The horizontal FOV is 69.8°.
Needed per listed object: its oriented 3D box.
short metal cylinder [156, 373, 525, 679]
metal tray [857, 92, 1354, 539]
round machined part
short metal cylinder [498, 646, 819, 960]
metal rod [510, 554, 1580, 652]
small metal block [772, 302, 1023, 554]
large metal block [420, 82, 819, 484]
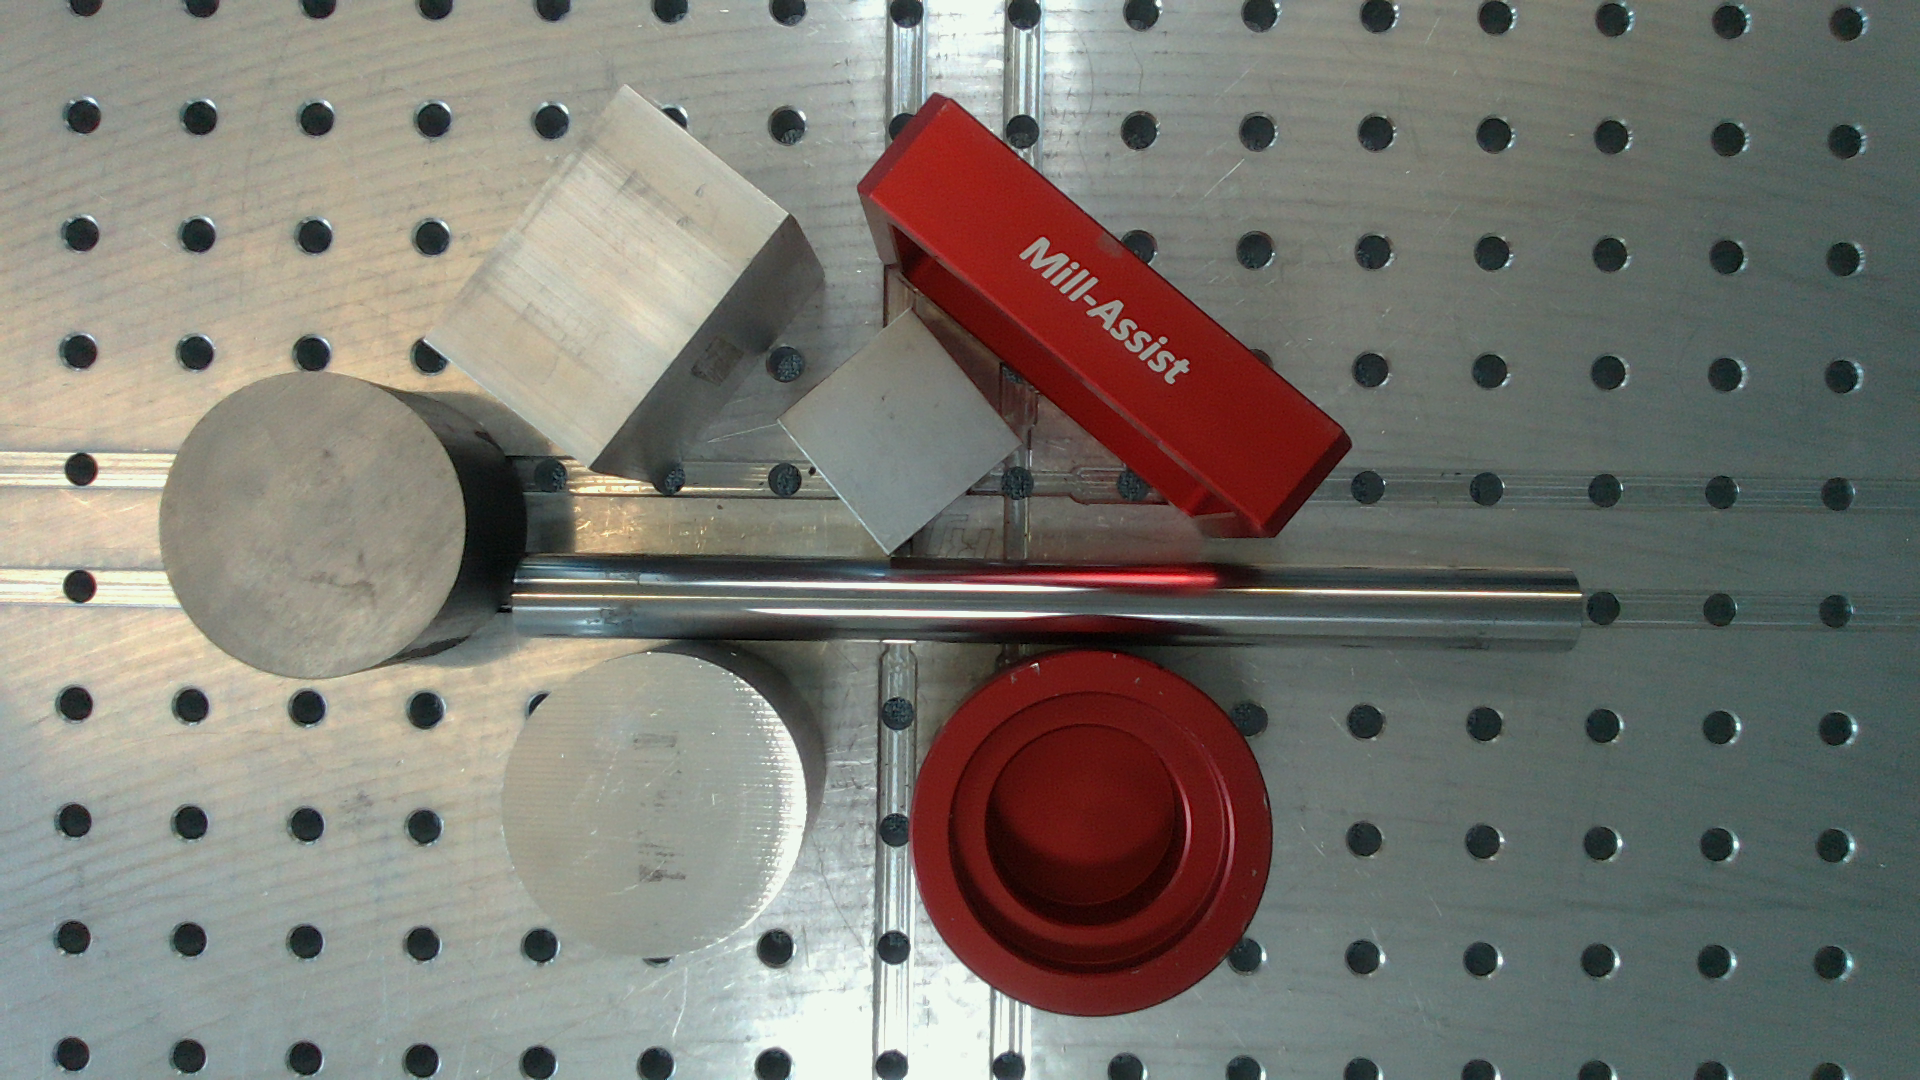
[{"bbox_3d":[-0.169,-0.004,0.384,0.080,0.050,0.080,0,90,0],"label":"short metal cylinder"},{"bbox_3d":[0.035,-0.053,0.365,0.130,0.090,0.030,40,90,0],"label":"metal tray"},{"bbox_3d":[0.035,0.079,0.390,0.098,0.042,0.098,0,90,0],"label":"round machined part"},{"bbox_3d":[-0.081,0.070,0.384,0.080,0.050,0.080,0,90,0],"label":"short metal cylinder"},{"bbox_3d":[0.024,0.018,0.398,0.300,0.025,0.025,1,90,0],"label":"metal rod"},{"bbox_3d":[-0.017,-0.031,0.398,0.050,0.025,0.050,-39,90,0],"label":"small metal block"},{"bbox_3d":[-0.085,-0.063,0.370,0.050,0.080,0.080,38,90,-1],"label":"large metal block"}]
